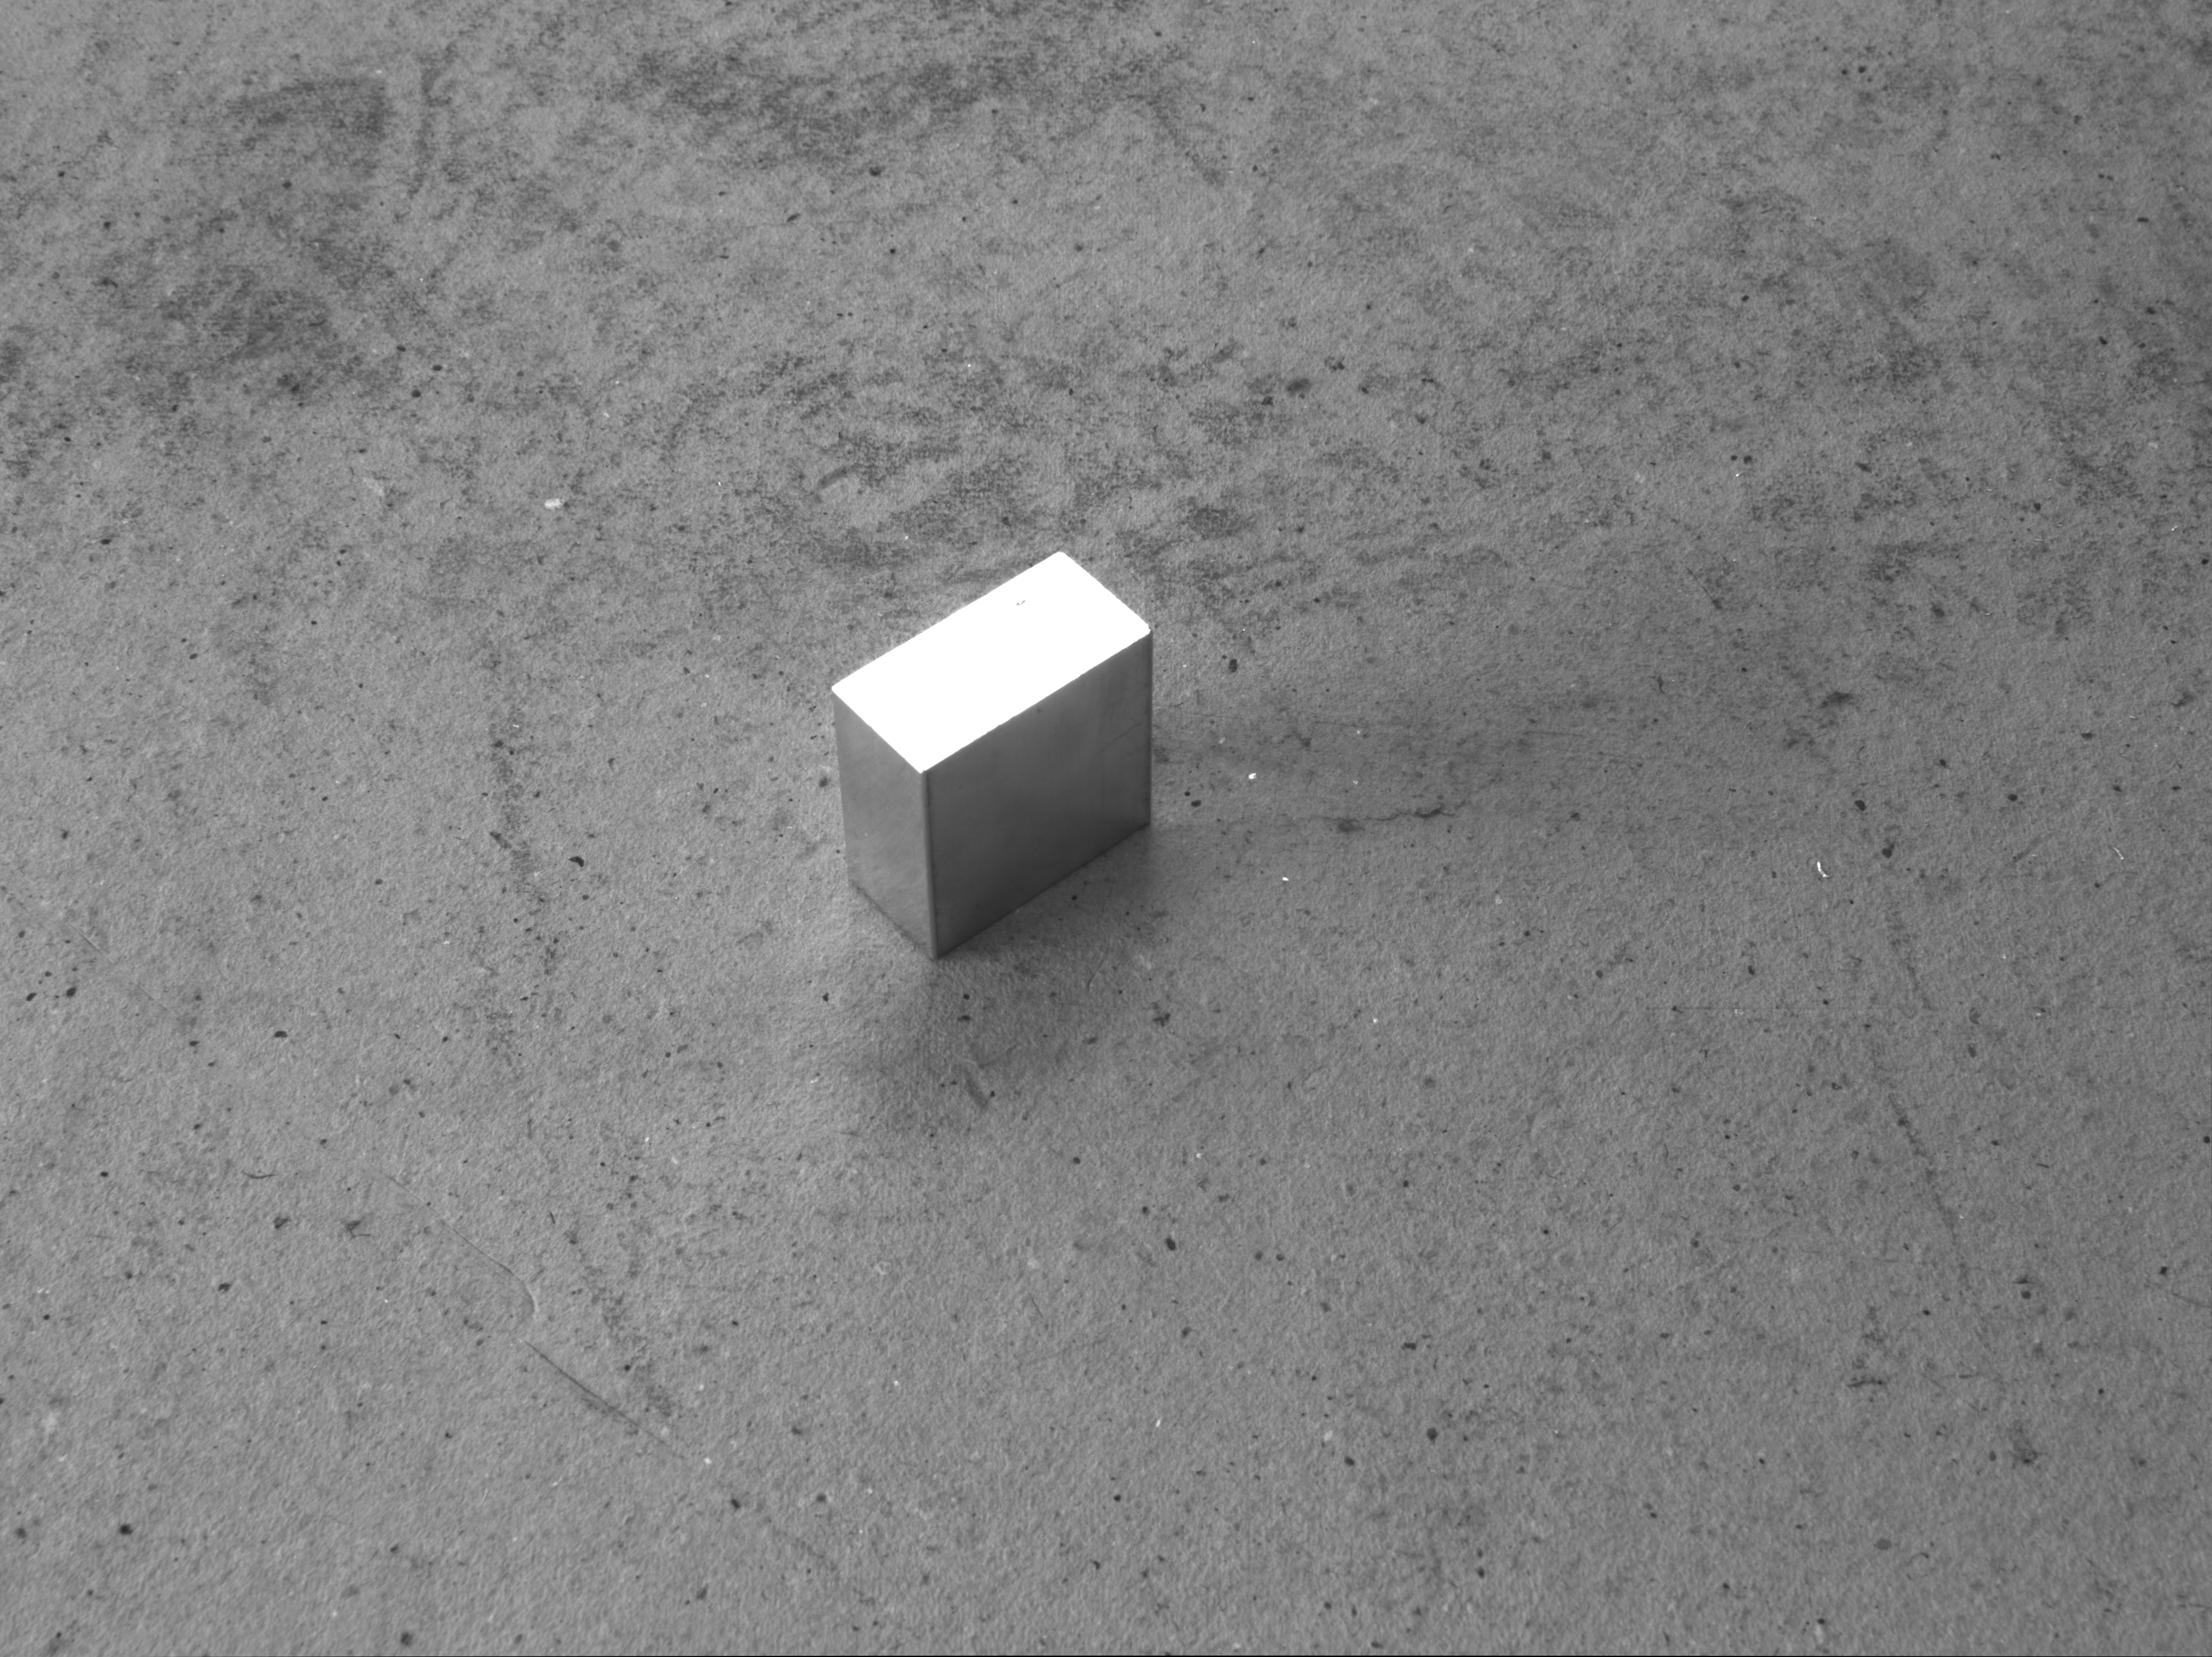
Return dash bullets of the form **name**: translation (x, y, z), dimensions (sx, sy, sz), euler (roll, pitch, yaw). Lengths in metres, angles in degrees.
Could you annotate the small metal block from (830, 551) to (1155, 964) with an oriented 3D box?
- **small metal block**: translation (-0.019, -0.012, 0.637), dimensions (0.050, 0.050, 0.025), euler (-32, 57, -24)
